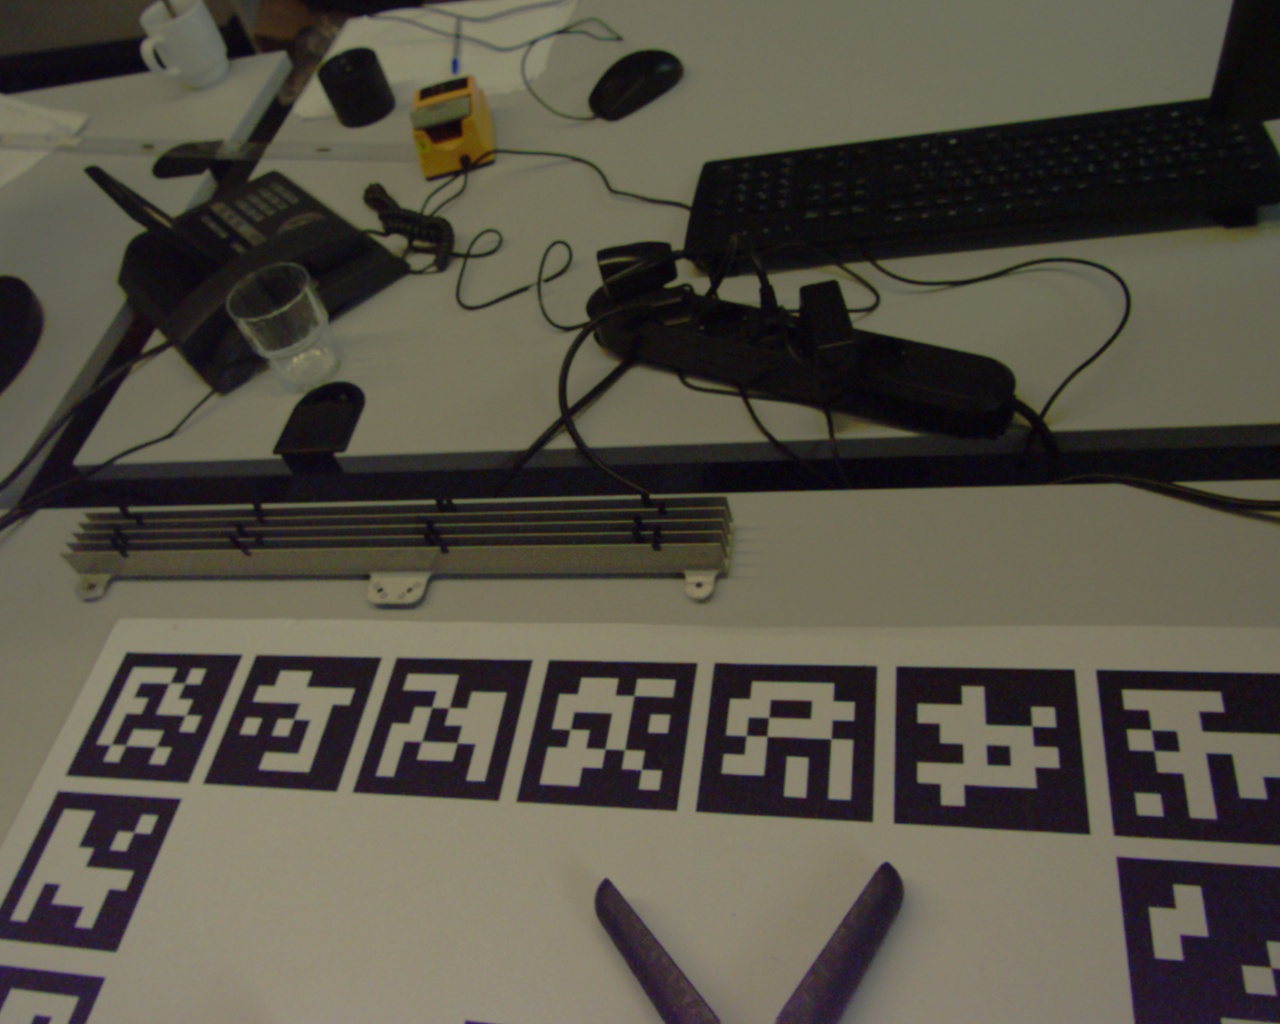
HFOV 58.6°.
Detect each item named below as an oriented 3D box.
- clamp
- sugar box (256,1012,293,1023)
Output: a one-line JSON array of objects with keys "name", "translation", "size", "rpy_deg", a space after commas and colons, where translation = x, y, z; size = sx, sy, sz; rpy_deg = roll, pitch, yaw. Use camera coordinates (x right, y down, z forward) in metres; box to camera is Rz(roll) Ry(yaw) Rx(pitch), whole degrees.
[{"name": "clamp", "translation": [0.039, 0.281, 0.599], "size": [0.166, 0.036, 0.203], "rpy_deg": [-9, 51, 10]}, {"name": "sugar box", "translation": [-0.199, 0.361, 0.581], "size": [0.092, 0.045, 0.178], "rpy_deg": [-29, 44, -8]}]
